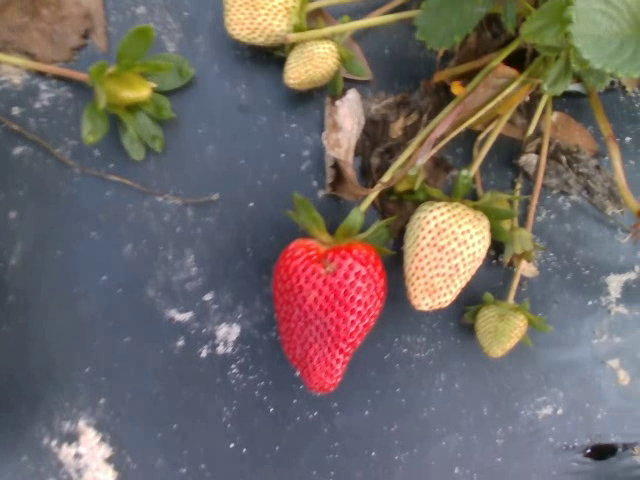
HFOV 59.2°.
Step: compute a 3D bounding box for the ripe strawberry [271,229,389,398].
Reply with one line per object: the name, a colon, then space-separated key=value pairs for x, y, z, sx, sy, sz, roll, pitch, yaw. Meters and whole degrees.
ripe strawberry: x=0.003 y=0.024 z=0.199 sx=0.050 sy=0.059 sz=0.034 roll=1 pitch=-16 yaw=-3
